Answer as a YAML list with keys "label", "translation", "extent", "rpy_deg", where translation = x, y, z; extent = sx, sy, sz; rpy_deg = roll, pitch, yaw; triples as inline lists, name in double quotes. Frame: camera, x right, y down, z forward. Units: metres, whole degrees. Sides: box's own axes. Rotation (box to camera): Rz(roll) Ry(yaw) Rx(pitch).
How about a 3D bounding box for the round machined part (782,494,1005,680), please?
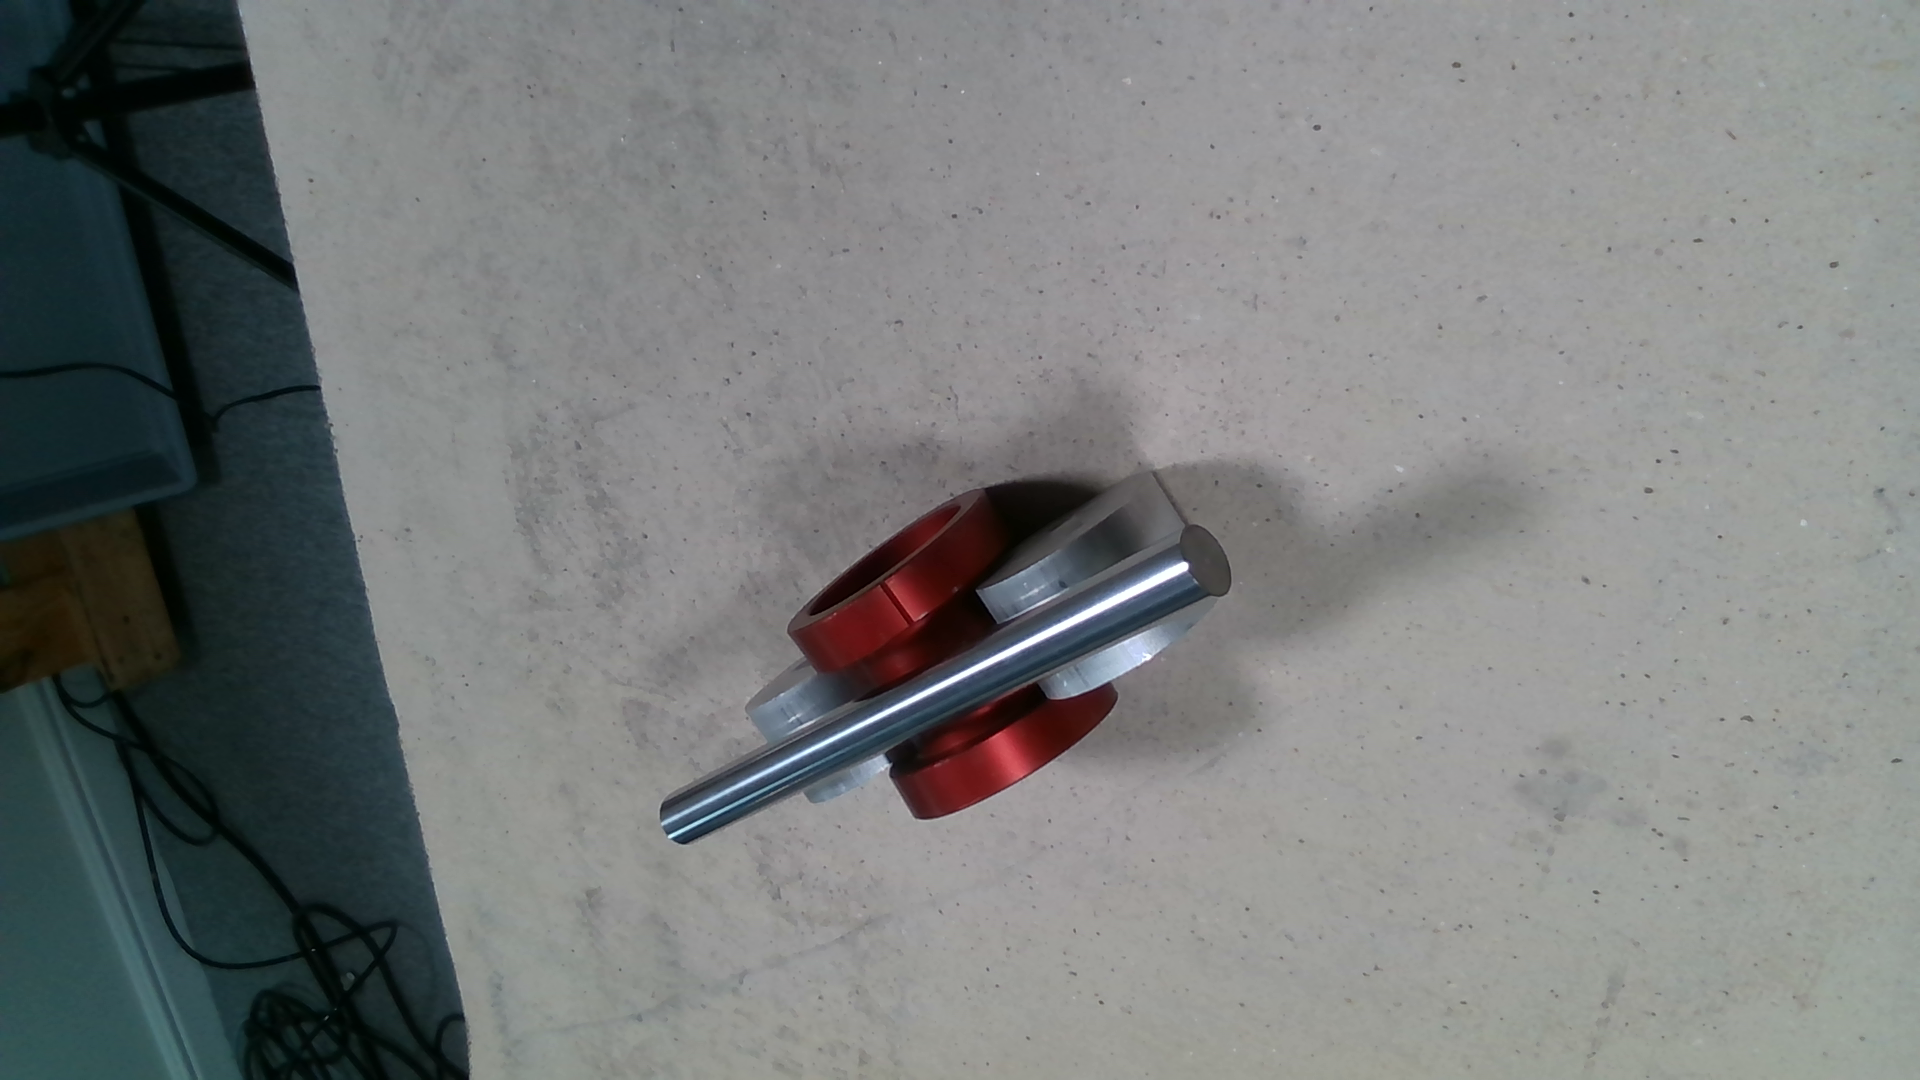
- label: "round machined part"
  translation: [-0.021, 0.025, 0.558]
  extent: [0.098, 0.098, 0.042]
  rpy_deg: [-29, 102, 39]

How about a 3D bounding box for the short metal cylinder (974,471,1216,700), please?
- label: "short metal cylinder"
  translation: [0.052, 0.017, 0.521]
  extent: [0.080, 0.080, 0.050]
  rpy_deg: [-29, 98, 39]

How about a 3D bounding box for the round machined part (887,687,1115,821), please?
- label: "round machined part"
  translation: [0.012, 0.071, 0.565]
  extent: [0.098, 0.098, 0.042]
  rpy_deg: [-29, 93, 39]

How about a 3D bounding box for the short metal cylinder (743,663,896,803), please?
- label: "short metal cylinder"
  translation: [-0.049, 0.072, 0.614]
  extent: [0.080, 0.080, 0.050]
  rpy_deg: [-29, 98, 39]

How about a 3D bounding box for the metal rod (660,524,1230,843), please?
- label: "metal rod"
  translation: [-0.024, 0.065, 0.528]
  extent: [0.300, 0.025, 0.025]
  rpy_deg: [-30, 97, 39]
